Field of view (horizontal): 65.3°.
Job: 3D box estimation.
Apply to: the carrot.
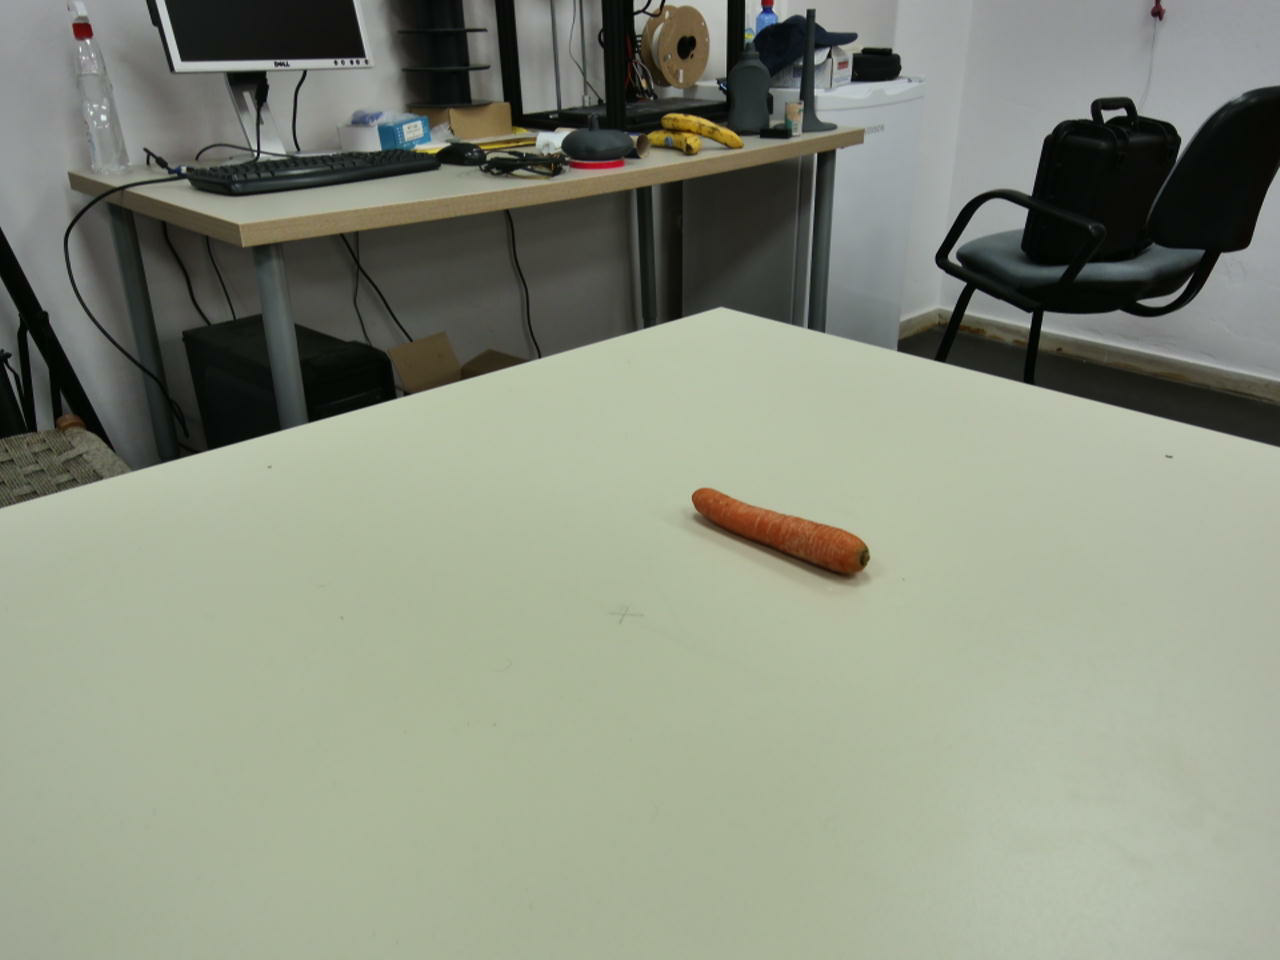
[{"bbox_3d":[0.076,0.026,0.568,0.024,0.023,0.122,-21,31,-40],"label":"carrot"}]
